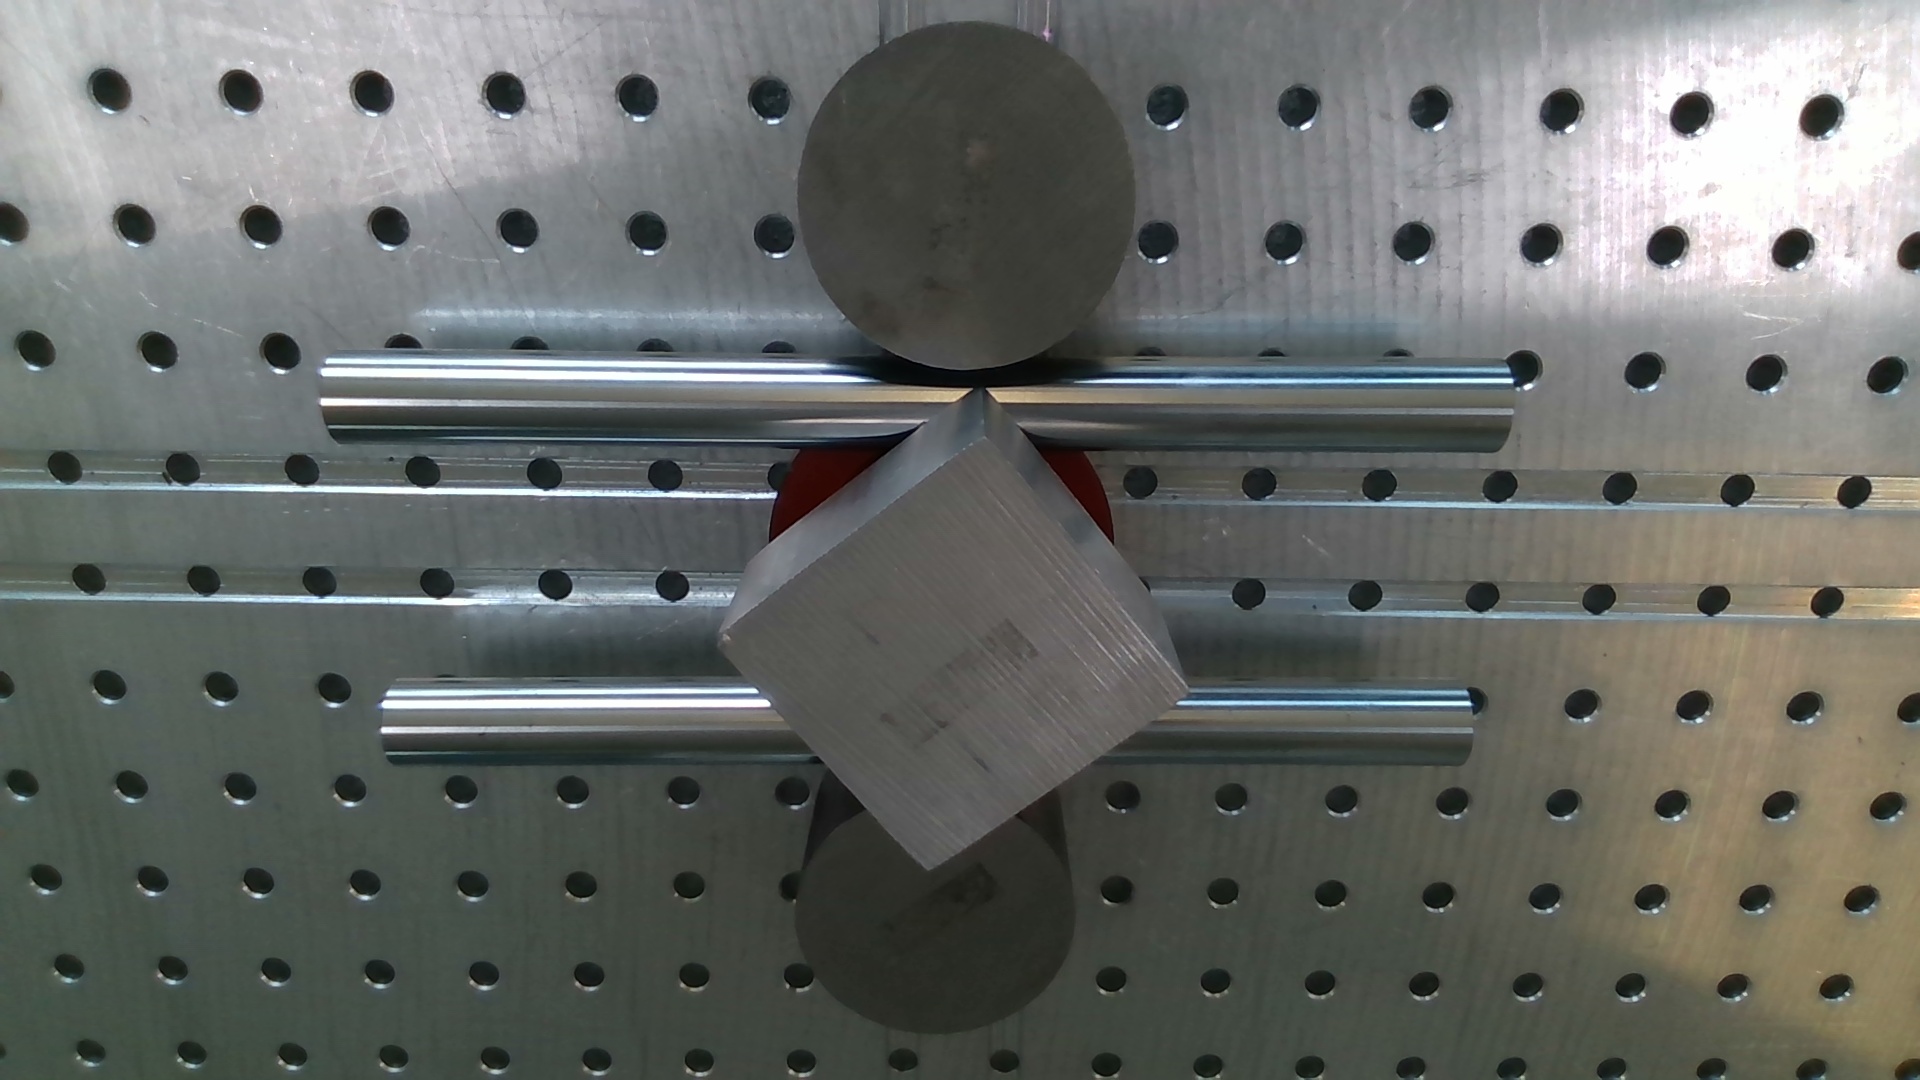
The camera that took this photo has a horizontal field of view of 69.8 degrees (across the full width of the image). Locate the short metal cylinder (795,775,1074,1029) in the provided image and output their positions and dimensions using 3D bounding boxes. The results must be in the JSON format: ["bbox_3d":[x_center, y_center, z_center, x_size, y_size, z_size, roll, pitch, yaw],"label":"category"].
[{"bbox_3d":[-0.007,0.099,0.419,0.080,0.050,0.080,0,110,0],"label":"short metal cylinder"}]

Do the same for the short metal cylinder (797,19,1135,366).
[{"bbox_3d":[0.001,-0.089,0.350,0.080,0.050,0.080,0,110,0],"label":"short metal cylinder"}]

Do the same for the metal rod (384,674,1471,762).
[{"bbox_3d":[-0.009,0.051,0.392,0.300,0.025,0.025,0,110,0],"label":"metal rod"}]

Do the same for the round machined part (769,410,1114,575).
[{"bbox_3d":[-0.005,0.002,0.388,0.098,0.042,0.098,0,110,0],"label":"round machined part"}]

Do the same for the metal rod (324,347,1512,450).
[{"bbox_3d":[-0.011,-0.037,0.360,0.300,0.025,0.025,0,110,0],"label":"metal rod"}]

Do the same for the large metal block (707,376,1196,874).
[{"bbox_3d":[-0.002,0.020,0.340,0.080,0.050,0.080,-37,106,12],"label":"large metal block"}]
